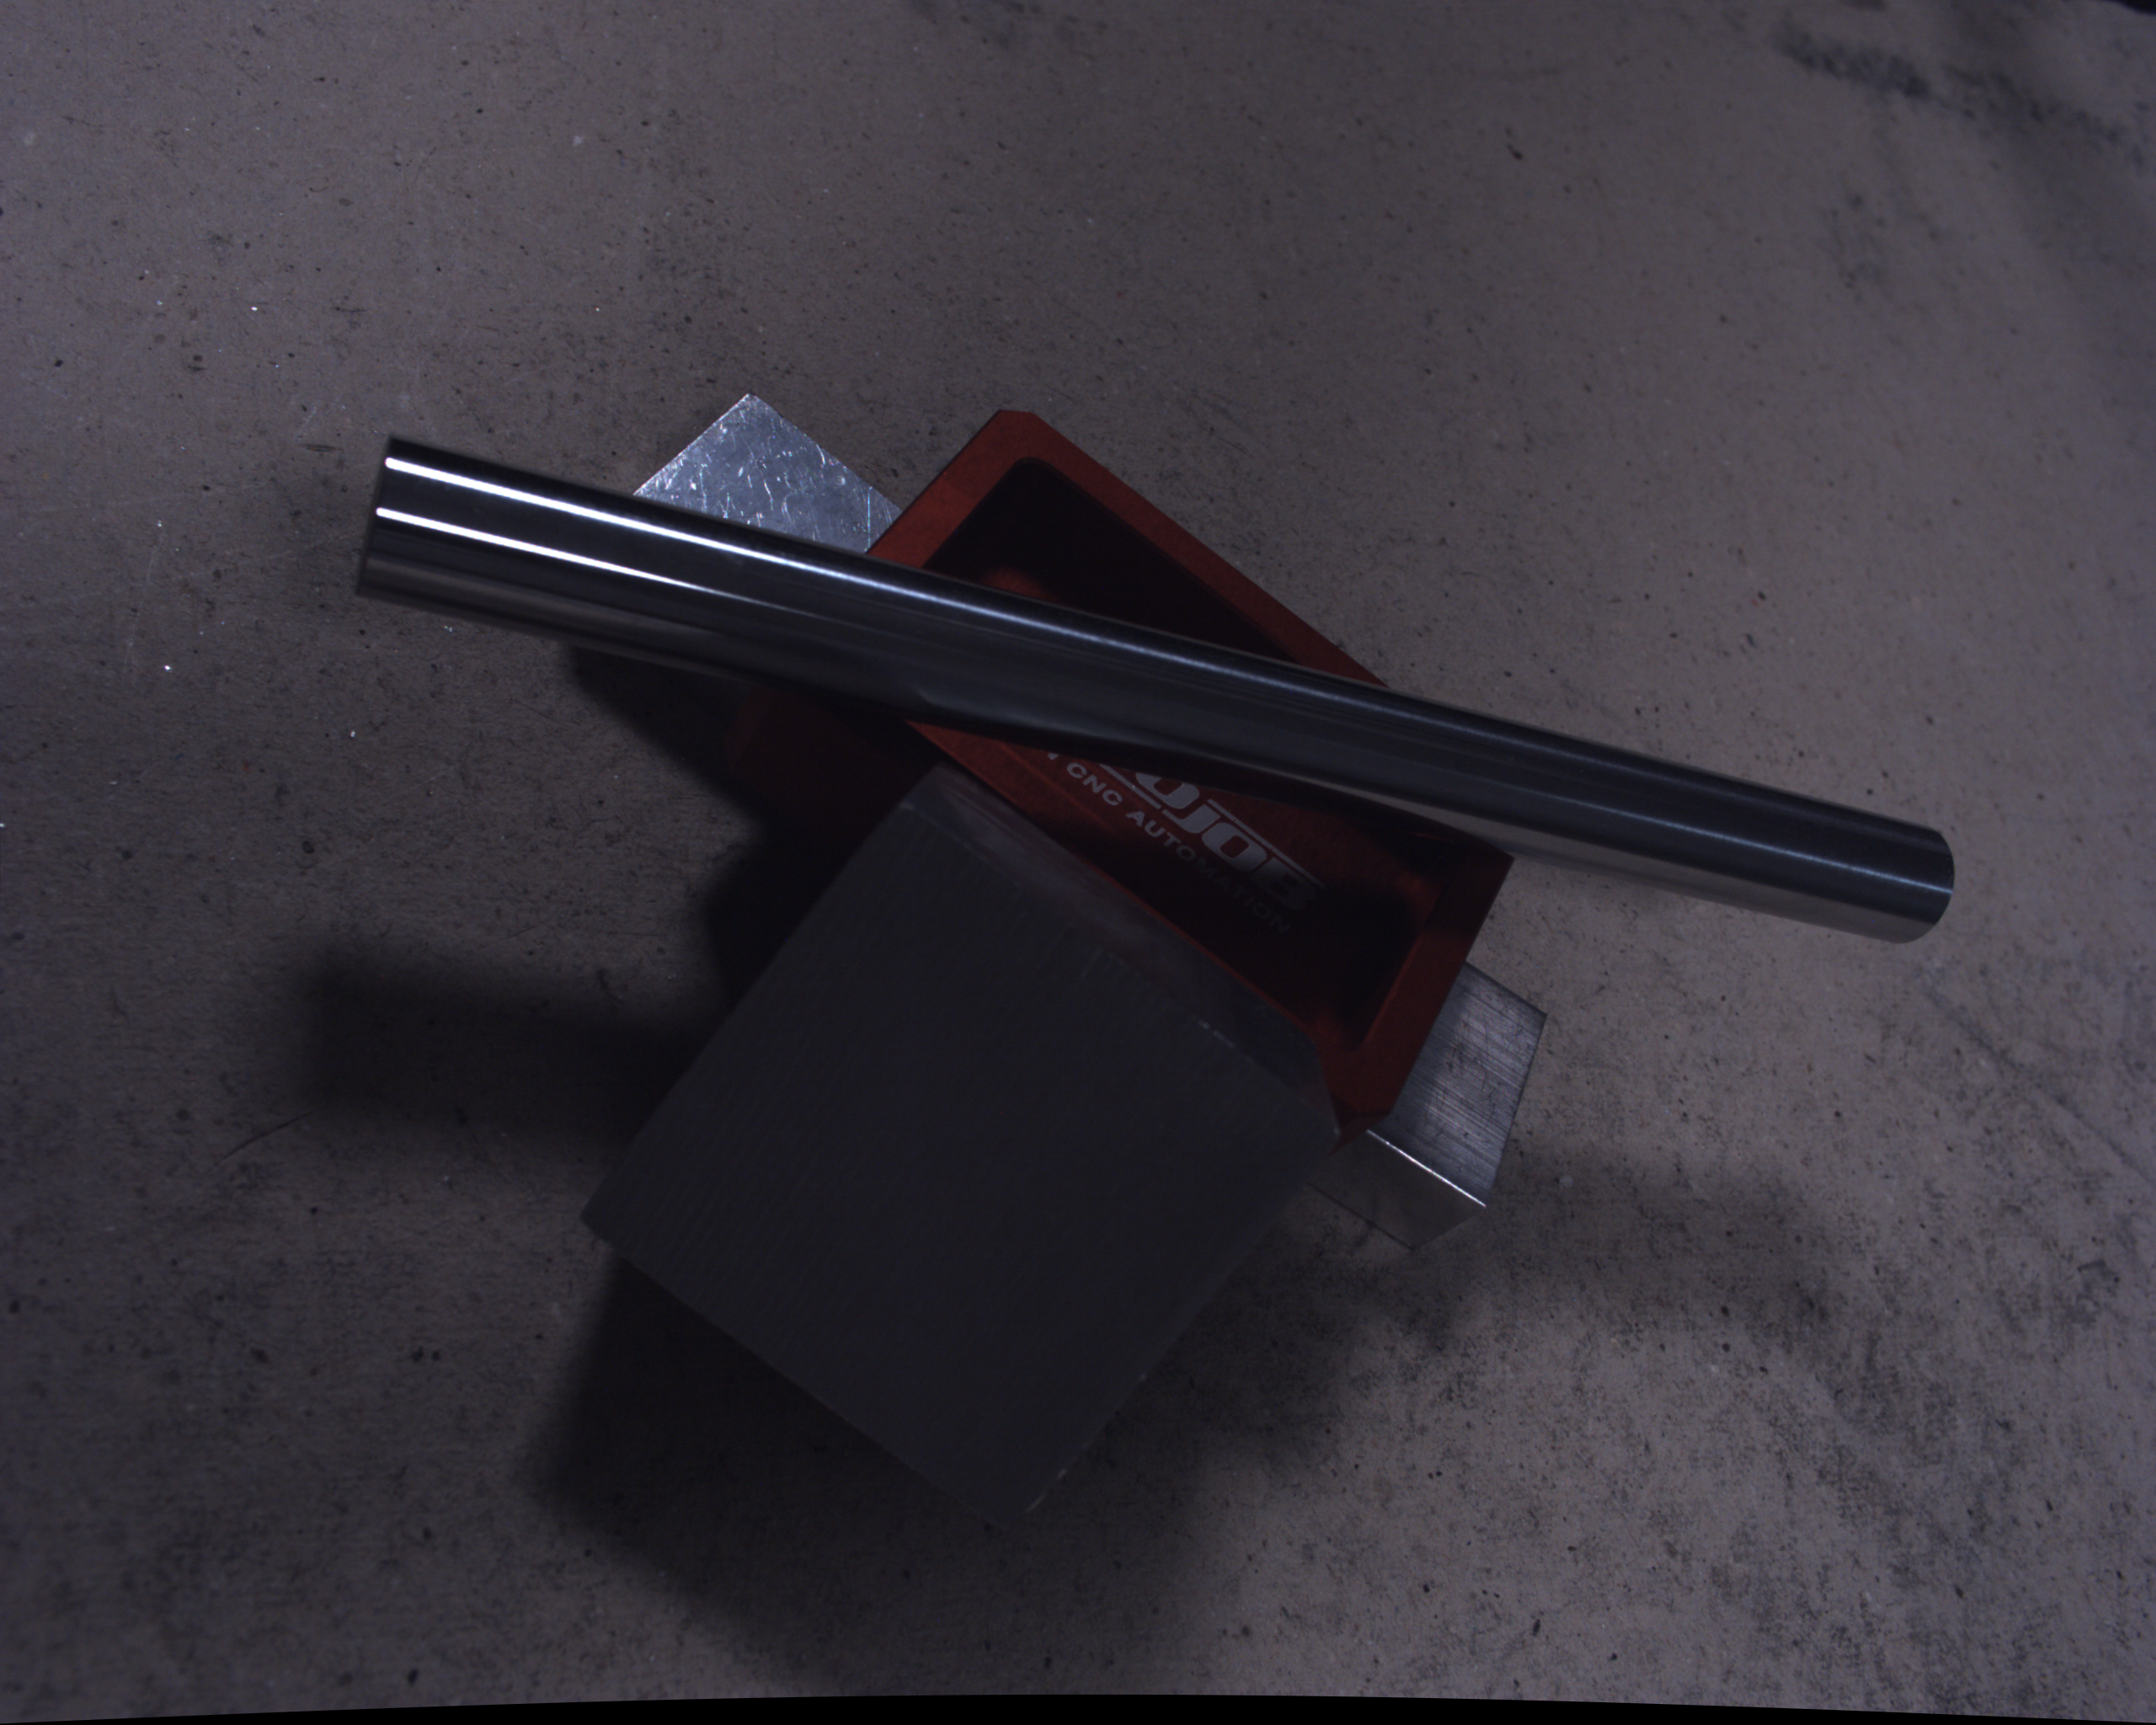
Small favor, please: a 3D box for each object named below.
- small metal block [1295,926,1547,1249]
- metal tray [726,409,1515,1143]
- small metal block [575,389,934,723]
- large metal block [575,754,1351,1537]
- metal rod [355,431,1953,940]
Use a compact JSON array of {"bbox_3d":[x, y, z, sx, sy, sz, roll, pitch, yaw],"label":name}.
[{"bbox_3d":[0.060,0.040,0.415,0.050,0.025,0.050,33,51,-7],"label":"small metal block"},{"bbox_3d":[0.013,-0.015,0.387,0.130,0.030,0.090,37,51,-3],"label":"metal tray"},{"bbox_3d":[-0.062,-0.057,0.407,0.050,0.025,0.050,38,51,-3],"label":"small metal block"},{"bbox_3d":[-0.016,0.041,0.326,0.080,0.080,0.050,37,9,-4],"label":"large metal block"},{"bbox_3d":[0.032,-0.024,0.368,0.302,0.025,0.025,12,57,-22],"label":"metal rod"}]
